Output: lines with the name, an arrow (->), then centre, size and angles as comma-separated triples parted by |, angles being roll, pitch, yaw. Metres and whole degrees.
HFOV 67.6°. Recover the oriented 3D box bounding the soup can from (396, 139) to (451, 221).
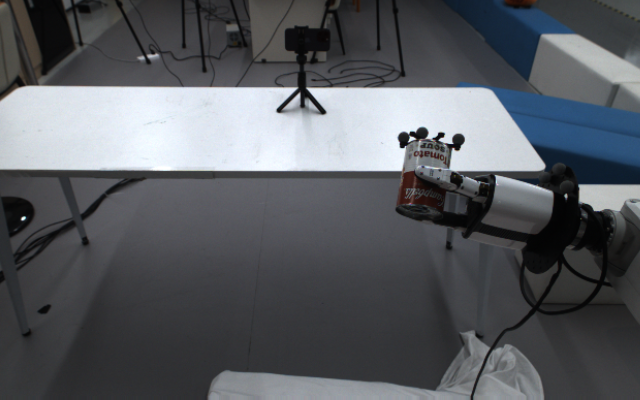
soup can -> 0.151, -0.031, 0.698 | 0.067, 0.067, 0.101 | 9, 74, 9
